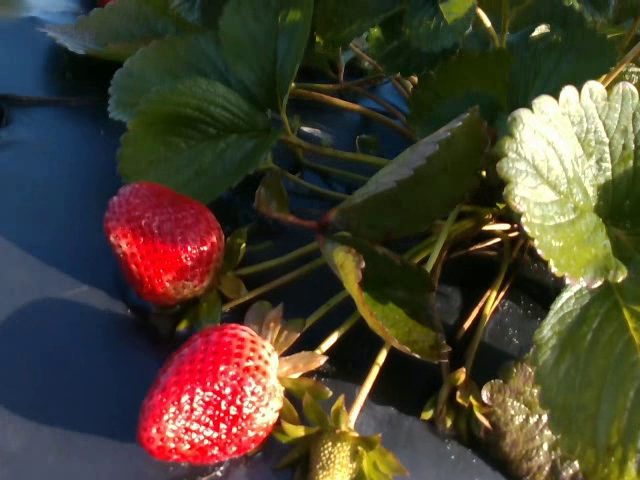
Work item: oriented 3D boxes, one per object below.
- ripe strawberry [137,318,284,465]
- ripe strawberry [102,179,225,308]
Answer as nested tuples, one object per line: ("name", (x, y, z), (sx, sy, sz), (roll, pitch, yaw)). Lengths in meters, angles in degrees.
("ripe strawberry", (-0.032, 0.045, 0.176), (0.038, 0.043, 0.053), (-44, -11, 30))
("ripe strawberry", (-0.057, 0.001, 0.224), (0.054, 0.048, 0.039), (36, -24, -22))
